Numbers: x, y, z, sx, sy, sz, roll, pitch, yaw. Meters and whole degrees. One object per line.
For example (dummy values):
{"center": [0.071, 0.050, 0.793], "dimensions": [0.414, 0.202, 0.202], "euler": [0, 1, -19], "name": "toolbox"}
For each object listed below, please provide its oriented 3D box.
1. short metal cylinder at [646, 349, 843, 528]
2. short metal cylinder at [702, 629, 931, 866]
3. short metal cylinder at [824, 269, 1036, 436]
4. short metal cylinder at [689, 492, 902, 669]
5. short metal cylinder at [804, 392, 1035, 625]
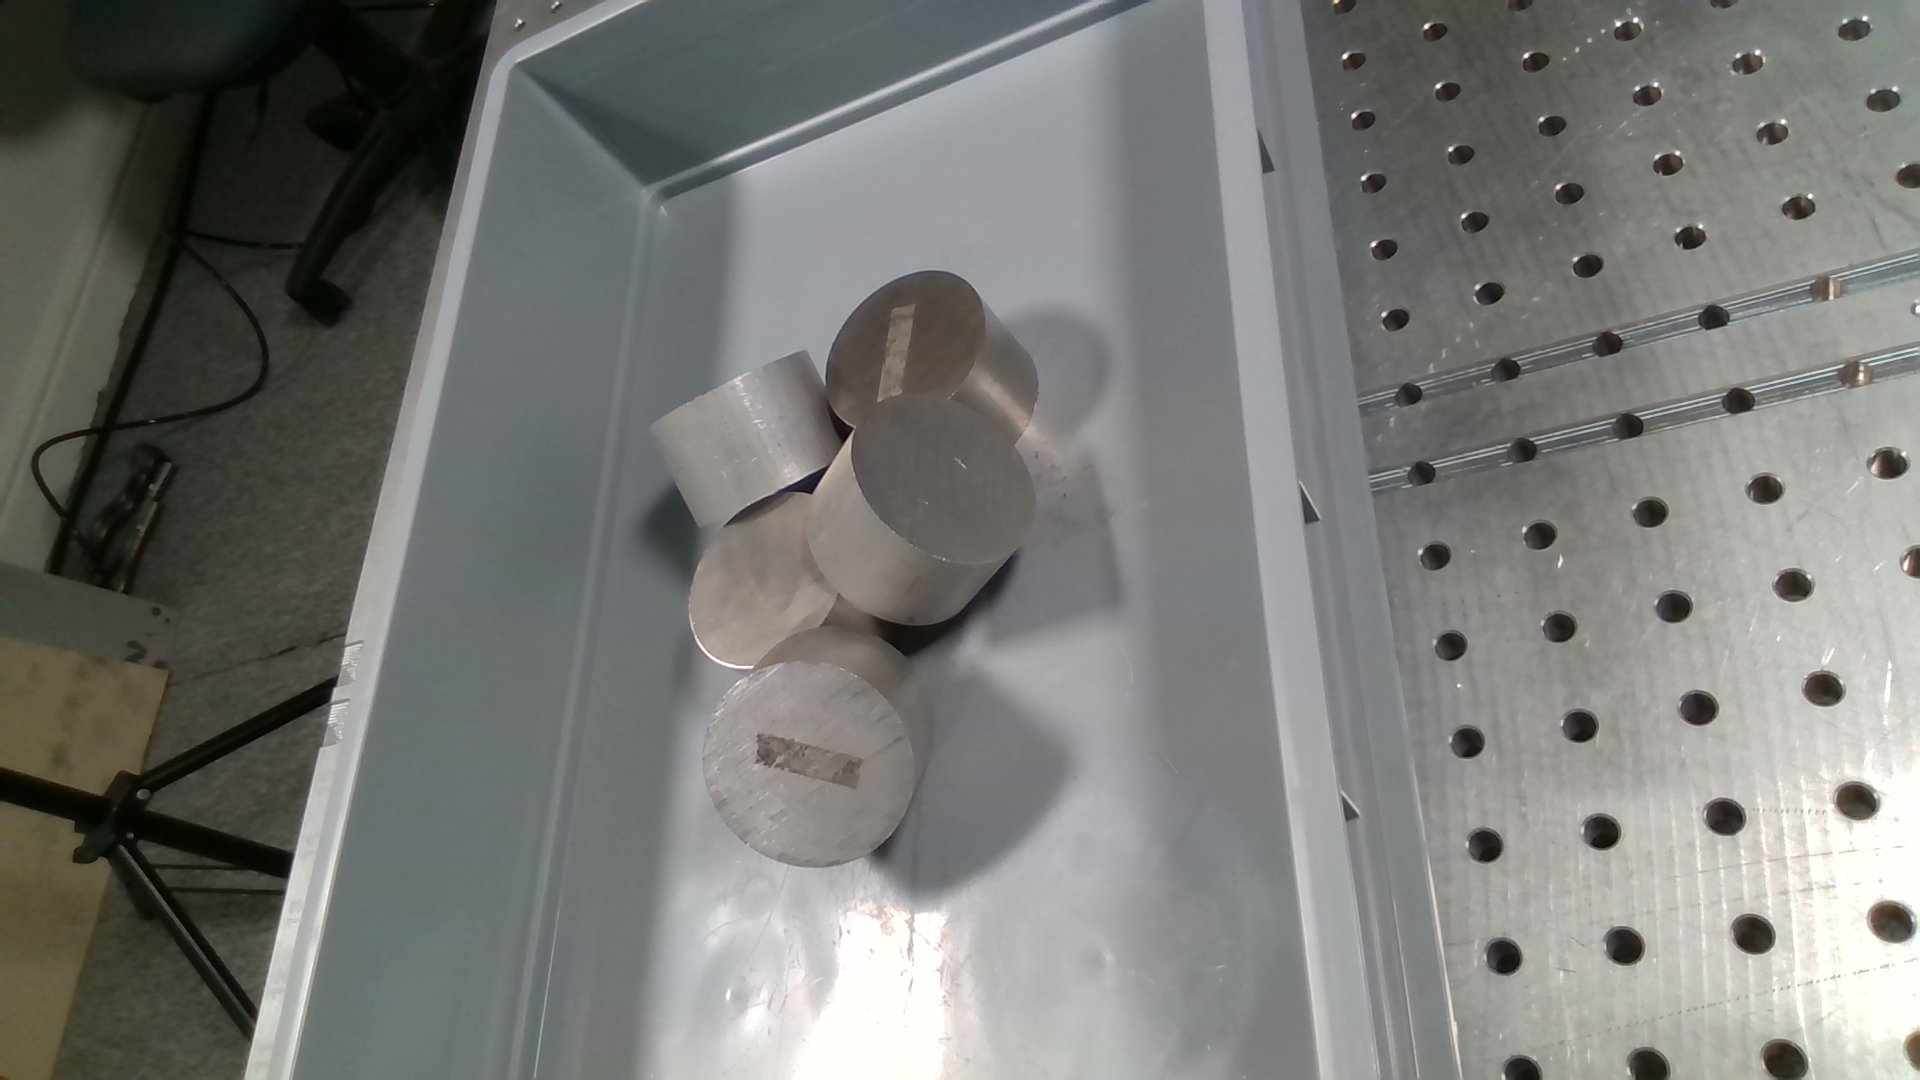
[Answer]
{"center": [-0.094, -0.046, 0.622], "dimensions": [0.080, 0.080, 0.050], "euler": [-25, 97, 19], "name": "short metal cylinder"}
{"center": [-0.053, 0.078, 0.533], "dimensions": [0.080, 0.050, 0.080], "euler": [2, 101, 8], "name": "short metal cylinder"}
{"center": [-0.013, -0.073, 0.613], "dimensions": [0.080, 0.050, 0.080], "euler": [-14, 59, 25], "name": "short metal cylinder"}
{"center": [-0.070, 0.026, 0.597], "dimensions": [0.080, 0.050, 0.080], "euler": [-14, 59, 25], "name": "short metal cylinder"}
{"center": [-0.017, -0.013, 0.556], "dimensions": [0.050, 0.080, 0.080], "euler": [-51, 39, 47], "name": "short metal cylinder"}
